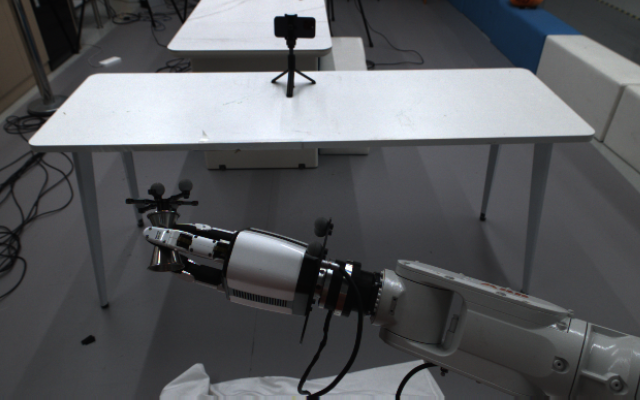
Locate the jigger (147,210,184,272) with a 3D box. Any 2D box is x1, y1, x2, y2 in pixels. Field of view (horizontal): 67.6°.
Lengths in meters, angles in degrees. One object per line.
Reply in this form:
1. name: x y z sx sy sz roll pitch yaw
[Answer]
1. jigger: -0.192 0.052 0.601 0.043 0.043 0.071 -6 73 -11
